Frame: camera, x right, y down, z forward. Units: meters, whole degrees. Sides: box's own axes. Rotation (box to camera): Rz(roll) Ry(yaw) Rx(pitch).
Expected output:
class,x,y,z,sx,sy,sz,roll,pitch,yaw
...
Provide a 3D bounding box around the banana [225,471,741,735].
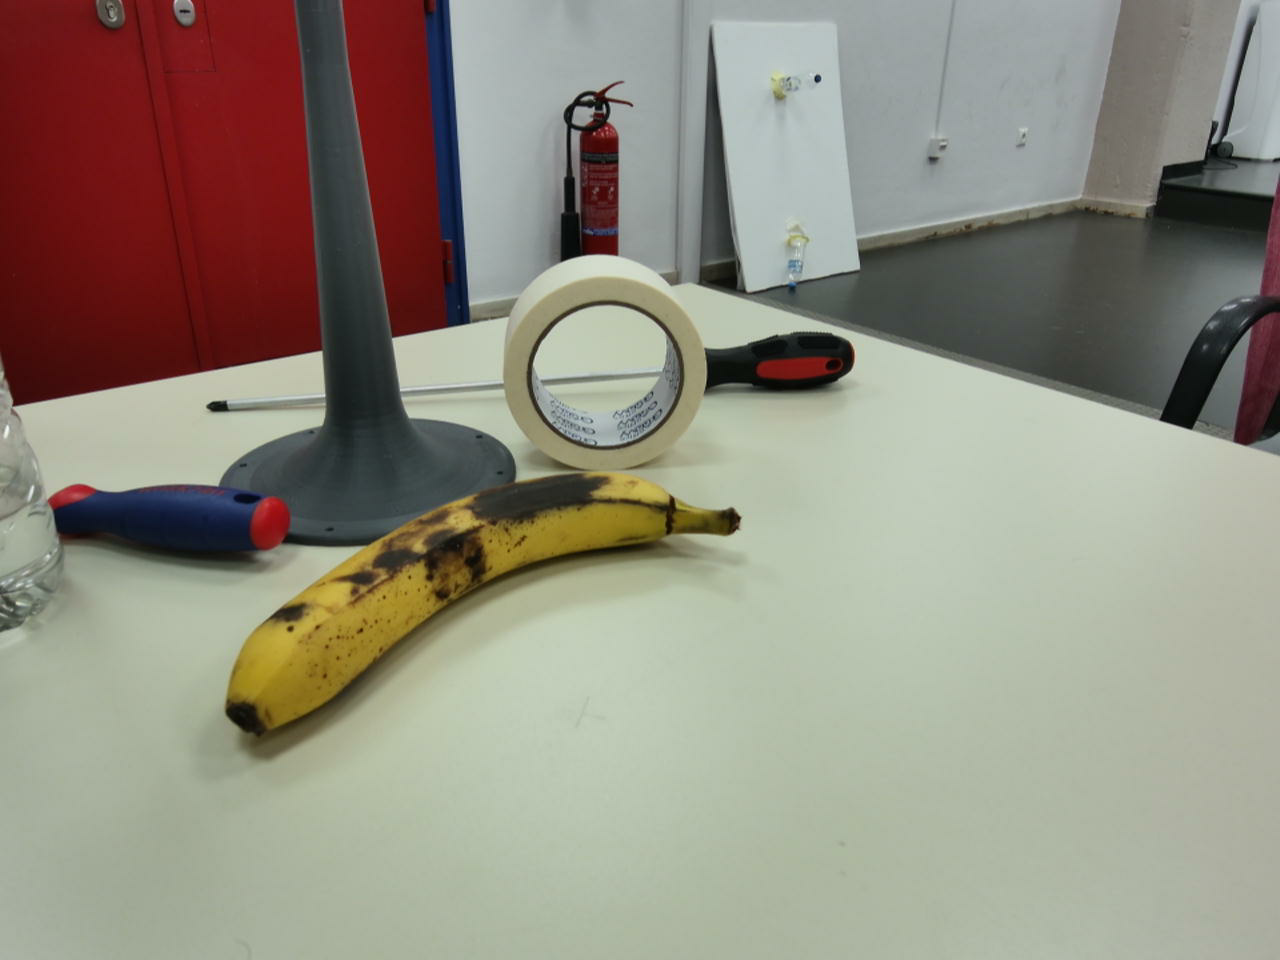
class,x,y,z,sx,sy,sz,roll,pitch,yaw
banana,-0.064,0.034,0.401,0.222,0.037,0.084,-17,29,-36
